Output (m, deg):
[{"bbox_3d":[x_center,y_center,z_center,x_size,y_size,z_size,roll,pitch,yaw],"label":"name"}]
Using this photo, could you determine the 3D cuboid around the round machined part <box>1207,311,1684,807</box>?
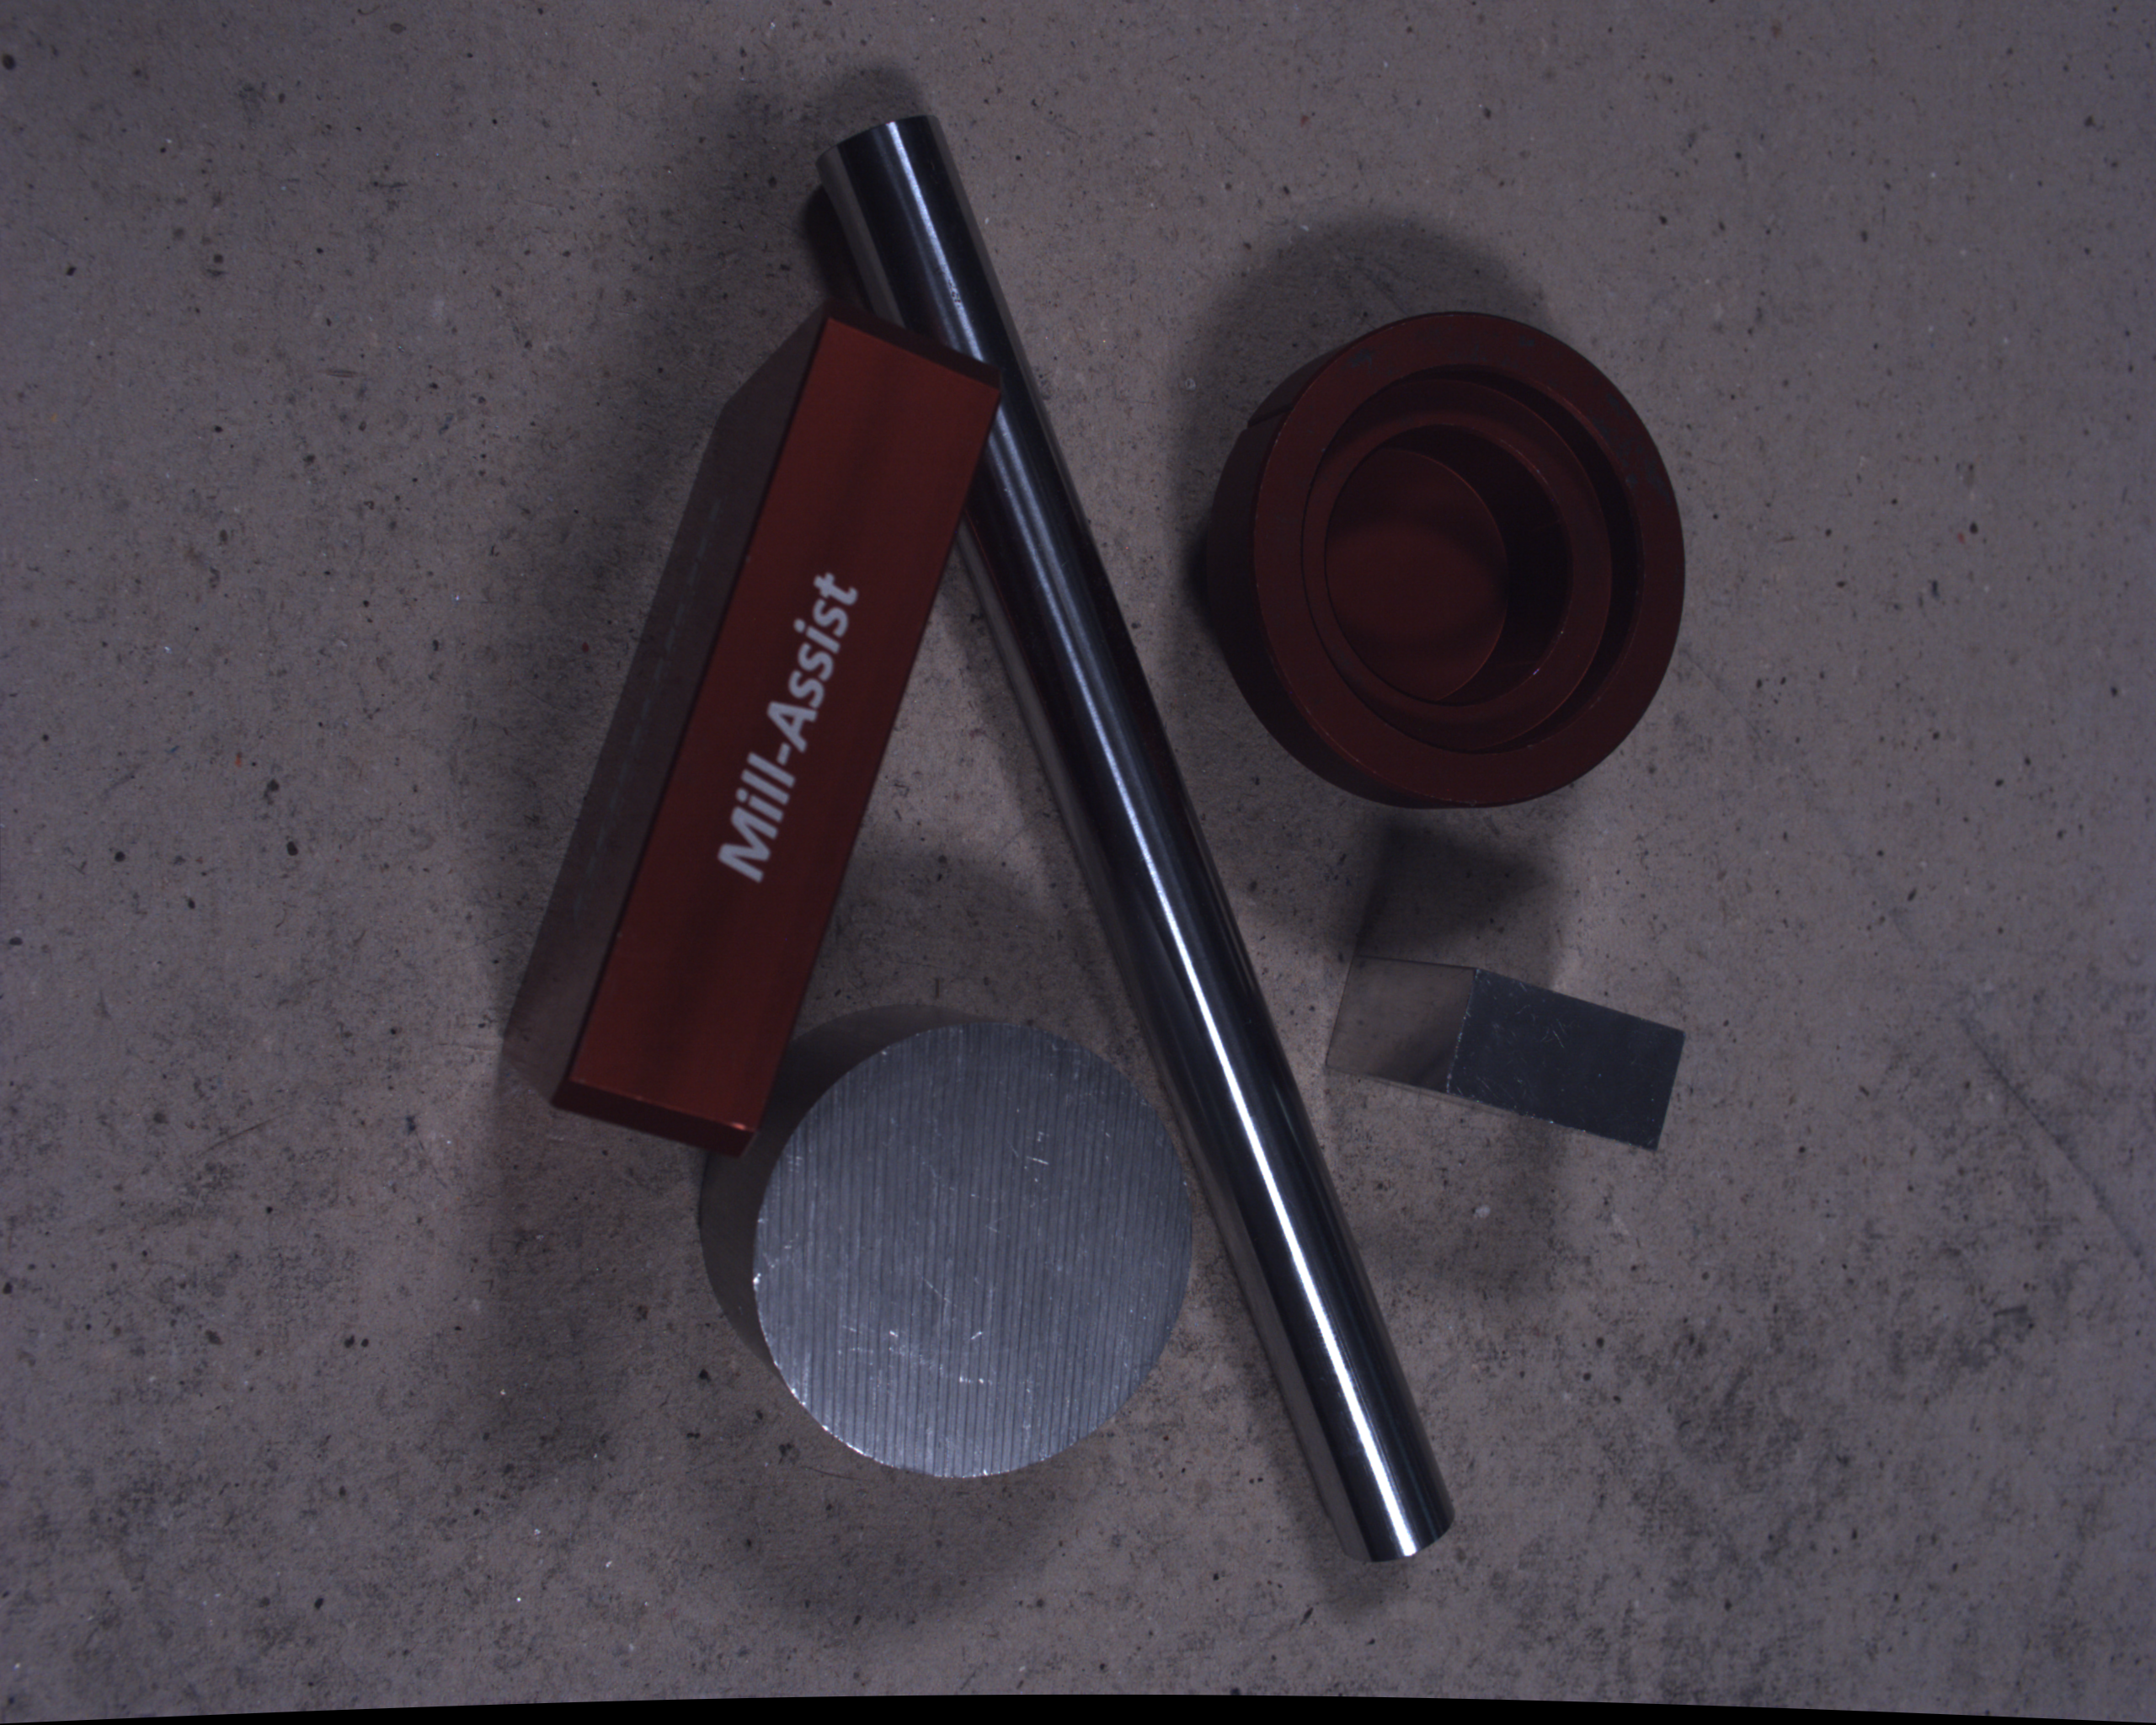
[{"bbox_3d":[0.071,-0.060,0.429,0.099,0.042,0.097,0,90,-21],"label":"round machined part"}]

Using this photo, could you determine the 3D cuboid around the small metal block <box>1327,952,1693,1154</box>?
[{"bbox_3d":[0.087,0.038,0.428,0.050,0.050,0.025,18,84,-20],"label":"small metal block"}]

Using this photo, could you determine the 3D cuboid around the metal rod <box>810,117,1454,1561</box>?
[{"bbox_3d":[0.014,0.001,0.417,0.025,0.025,0.298,-24,98,-19],"label":"metal rod"}]

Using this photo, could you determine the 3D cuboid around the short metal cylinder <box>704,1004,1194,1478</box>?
[{"bbox_3d":[-0.025,0.068,0.388,0.081,0.050,0.079,0,90,-21],"label":"short metal cylinder"}]

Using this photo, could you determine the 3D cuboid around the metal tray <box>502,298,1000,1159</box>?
[{"bbox_3d":[-0.059,-0.021,0.355,0.030,0.090,0.129,20,83,-19],"label":"metal tray"}]
